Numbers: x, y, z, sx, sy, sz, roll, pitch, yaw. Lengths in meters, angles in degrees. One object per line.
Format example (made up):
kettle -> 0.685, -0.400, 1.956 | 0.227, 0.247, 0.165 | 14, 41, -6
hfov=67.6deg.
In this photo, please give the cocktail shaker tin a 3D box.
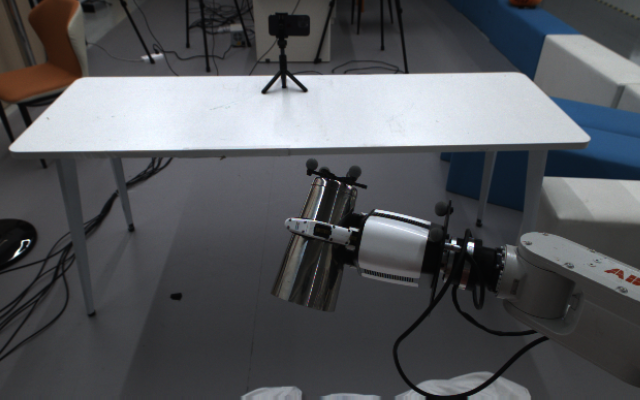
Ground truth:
cocktail shaker tin -> -0.002, 0.059, 0.674 | 0.093, 0.170, 0.093 | 16, -6, 2
